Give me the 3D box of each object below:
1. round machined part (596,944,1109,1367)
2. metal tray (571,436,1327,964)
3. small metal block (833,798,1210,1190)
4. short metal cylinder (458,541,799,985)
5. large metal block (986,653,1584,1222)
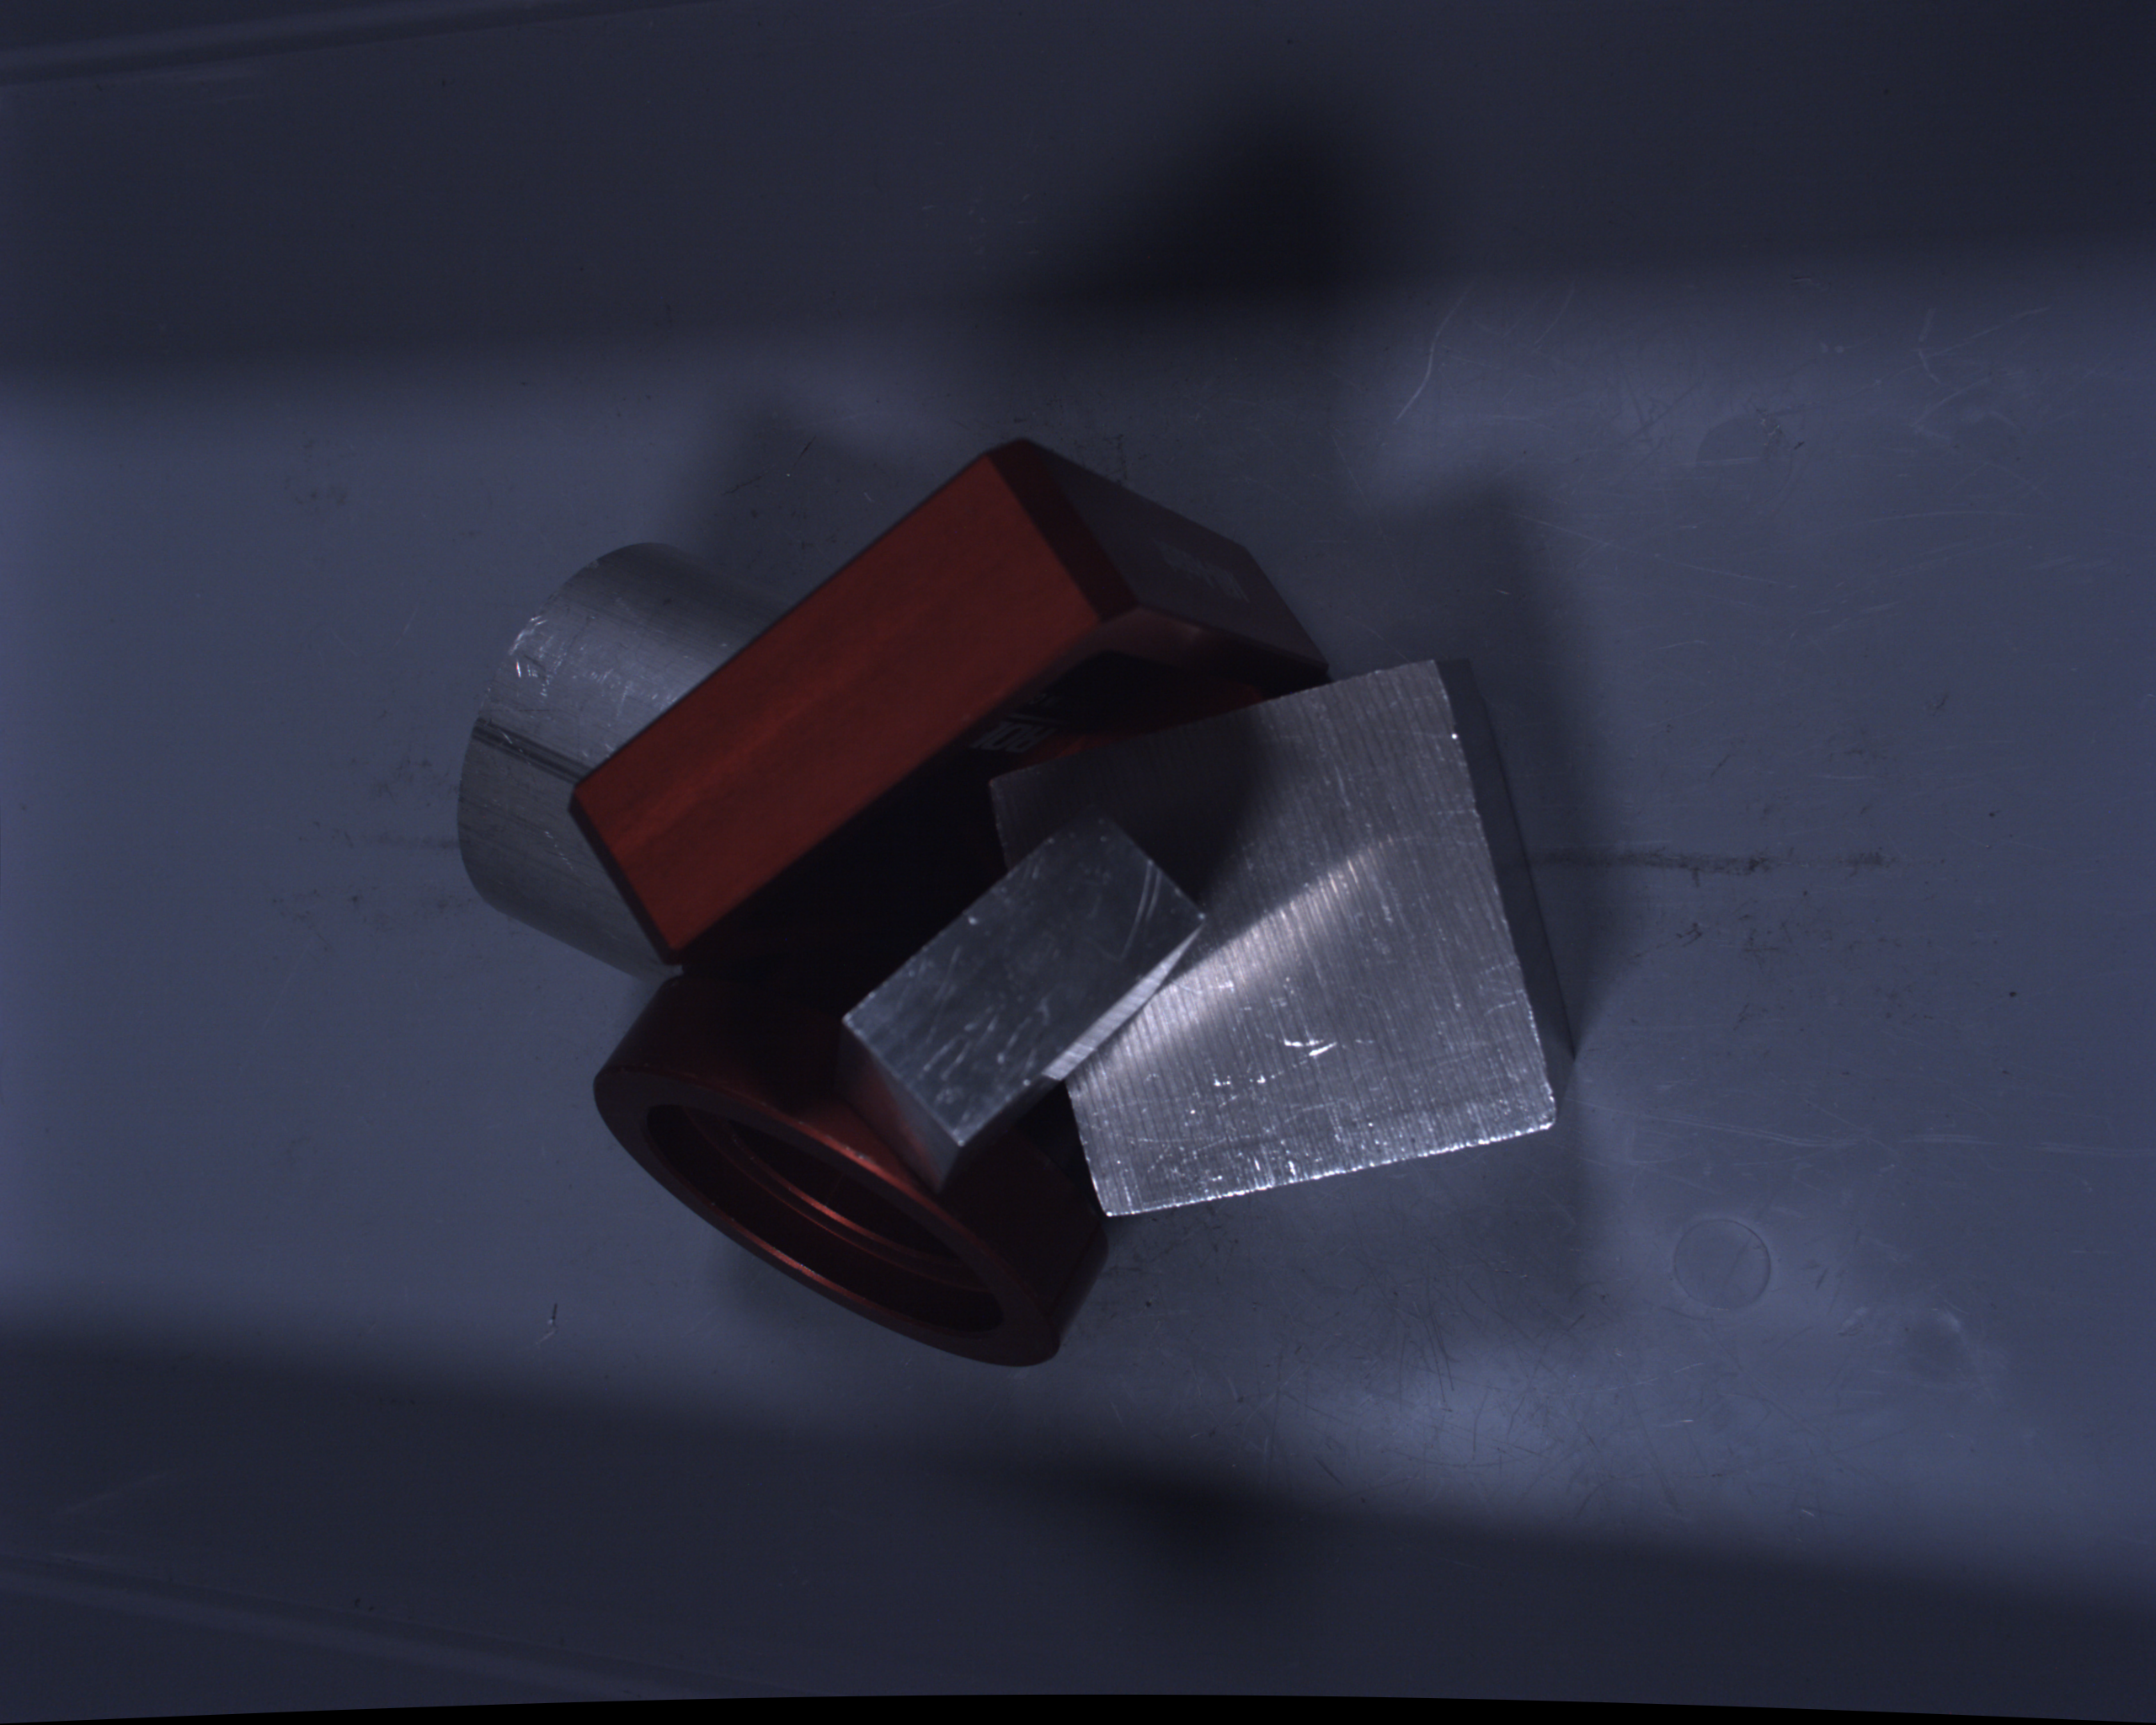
[{"bbox_3d":[-0.037,0.051,0.392,0.098,0.098,0.042,22,62,18],"label":"round machined part"},{"bbox_3d":[-0.014,-0.023,0.357,0.090,0.130,0.030,-37,80,16],"label":"metal tray"},{"bbox_3d":[-0.010,0.022,0.326,0.050,0.050,0.025,-42,83,-18],"label":"small metal block"},{"bbox_3d":[-0.073,-0.016,0.404,0.050,0.080,0.080,24,98,18],"label":"short metal cylinder"},{"bbox_3d":[0.039,0.012,0.373,0.080,0.050,0.080,-15,90,19],"label":"large metal block"}]
